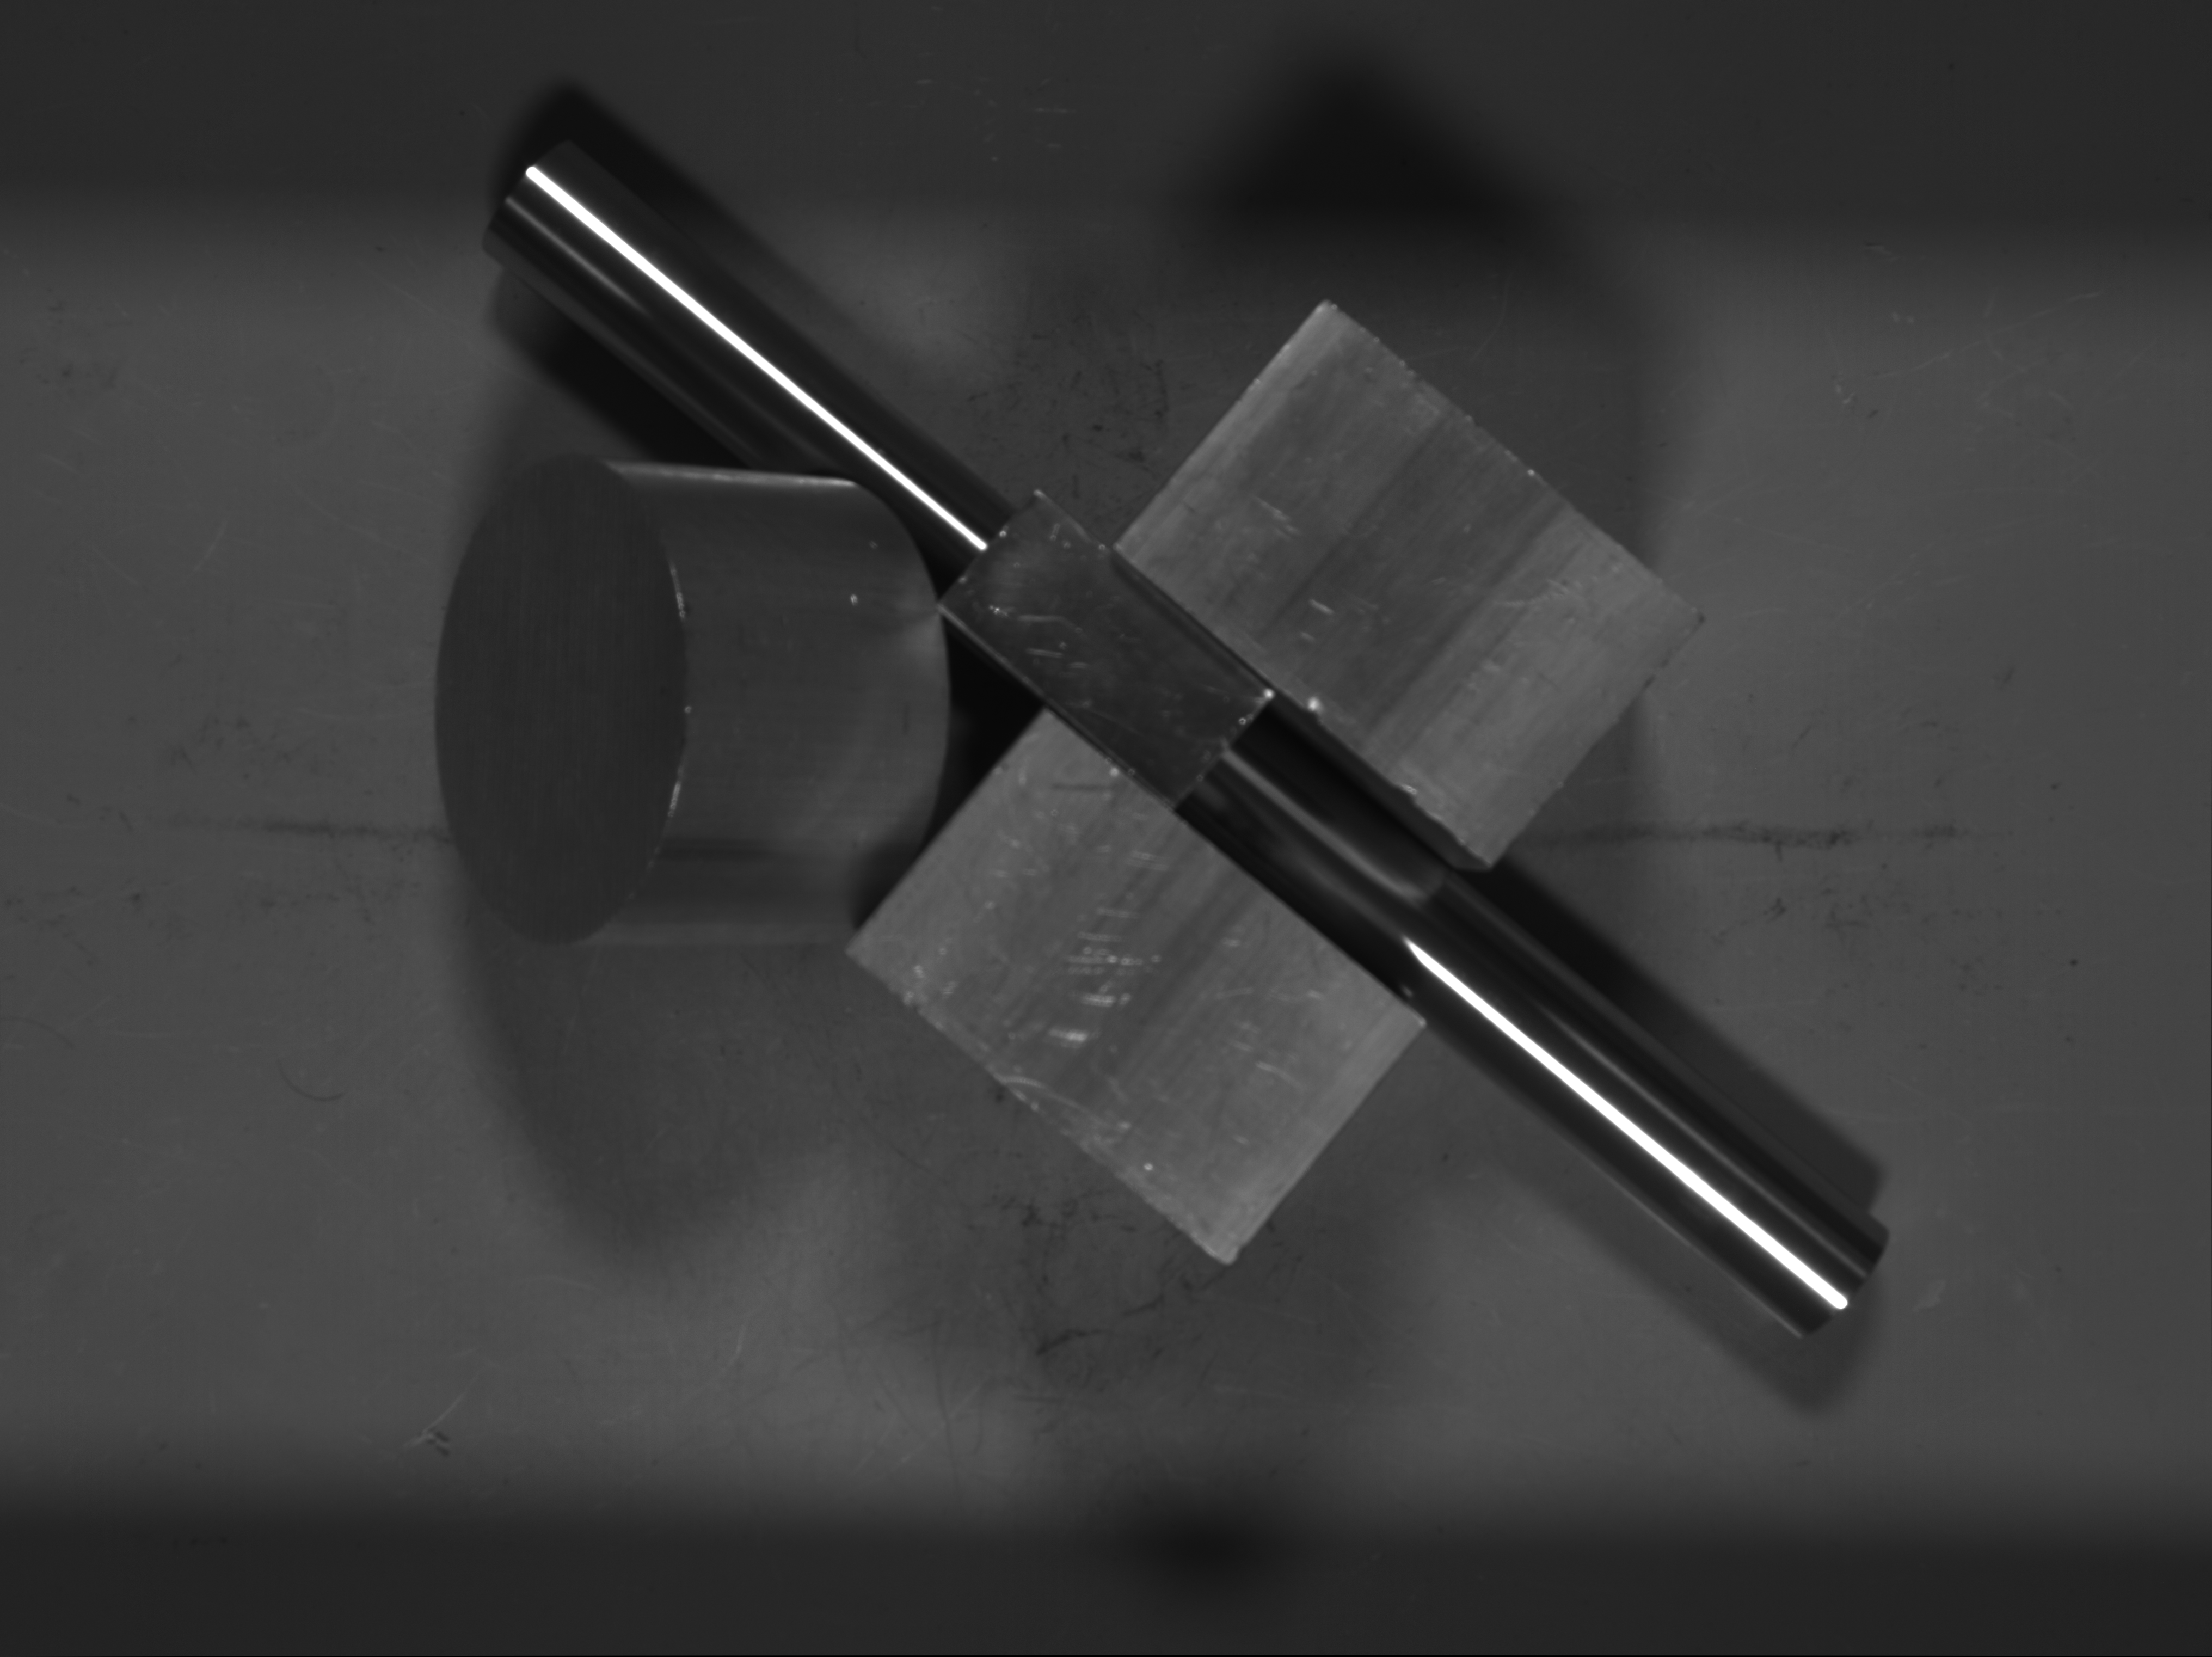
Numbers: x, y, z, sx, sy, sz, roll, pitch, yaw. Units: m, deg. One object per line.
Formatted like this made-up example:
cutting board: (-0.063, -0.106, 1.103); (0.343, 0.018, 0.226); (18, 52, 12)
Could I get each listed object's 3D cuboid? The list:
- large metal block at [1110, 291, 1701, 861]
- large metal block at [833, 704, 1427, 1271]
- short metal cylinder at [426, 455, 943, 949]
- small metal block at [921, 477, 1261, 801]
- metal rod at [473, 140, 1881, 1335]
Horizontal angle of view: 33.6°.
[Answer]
large metal block: (0.047, -0.040, 0.618); (0.080, 0.080, 0.050); (40, 90, 0)
large metal block: (0.004, 0.025, 0.617); (0.080, 0.080, 0.050); (39, 90, 0)
short metal cylinder: (-0.071, -0.020, 0.610); (0.050, 0.080, 0.080); (1, 90, -40)
small metal block: (-0.002, -0.030, 0.609); (0.050, 0.050, 0.025); (41, 90, 0)
metal rod: (0.013, -0.016, 0.645); (0.300, 0.025, 0.025); (39, 90, 0)
